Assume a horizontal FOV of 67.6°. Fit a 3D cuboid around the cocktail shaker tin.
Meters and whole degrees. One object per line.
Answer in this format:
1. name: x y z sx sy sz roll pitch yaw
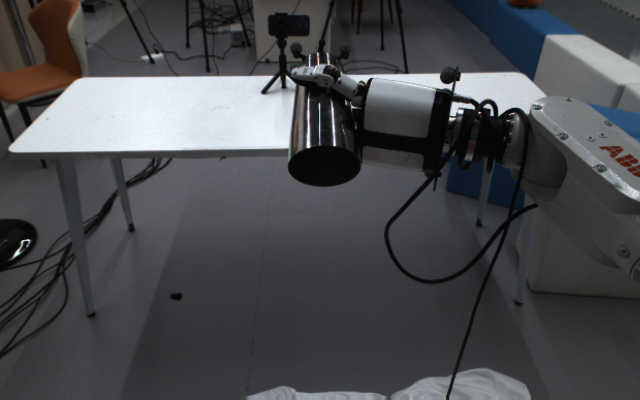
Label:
1. cocktail shaker tin: 0.003 -0.114 0.643 0.093 0.093 0.170 0 59 -3
